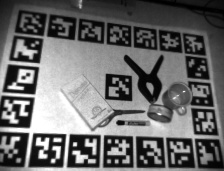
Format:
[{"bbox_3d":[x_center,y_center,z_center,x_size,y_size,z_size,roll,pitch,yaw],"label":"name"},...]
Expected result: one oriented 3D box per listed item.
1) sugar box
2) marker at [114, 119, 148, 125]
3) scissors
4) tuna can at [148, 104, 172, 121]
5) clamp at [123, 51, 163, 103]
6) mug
[{"bbox_3d":[-0.080,0.052,0.734,0.093,0.045,0.175,-33,76,-20],"label":"sugar box"},{"bbox_3d":[0.066,0.130,0.761,0.122,0.019,0.019,1,73,-12],"label":"marker"},{"bbox_3d":[0.022,0.087,0.763,0.204,0.016,0.087,-6,70,-16],"label":"scissors"},{"bbox_3d":[0.172,0.094,0.761,0.086,0.085,0.034,20,69,-5],"label":"tuna can"},{"bbox_3d":[0.138,-0.033,0.833,0.166,0.036,0.202,-6,74,-15],"label":"clamp"},{"bbox_3d":[0.231,0.050,0.794,0.094,0.081,0.116,-23,75,-18],"label":"mug"}]
